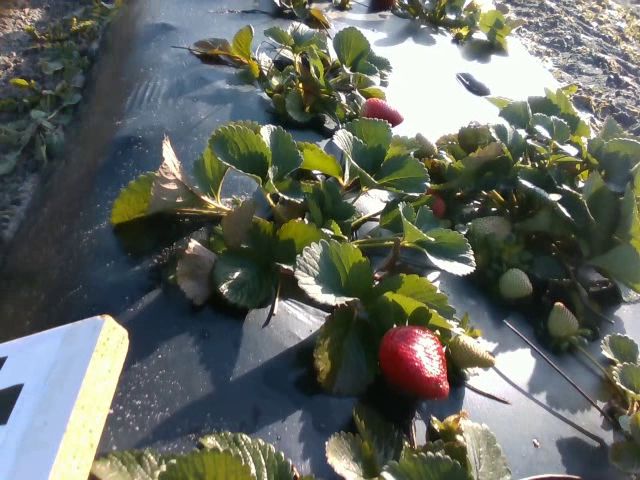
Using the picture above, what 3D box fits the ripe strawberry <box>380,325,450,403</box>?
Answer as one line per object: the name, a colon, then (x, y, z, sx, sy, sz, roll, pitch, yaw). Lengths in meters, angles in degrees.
ripe strawberry: (0.064, 0.081, 0.407, 0.056, 0.055, 0.072, -33, 28, -1)
